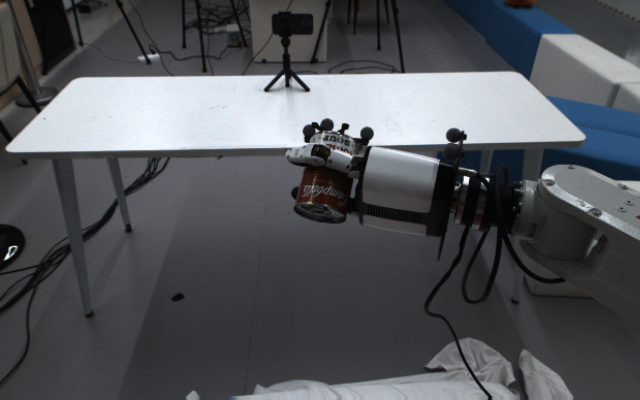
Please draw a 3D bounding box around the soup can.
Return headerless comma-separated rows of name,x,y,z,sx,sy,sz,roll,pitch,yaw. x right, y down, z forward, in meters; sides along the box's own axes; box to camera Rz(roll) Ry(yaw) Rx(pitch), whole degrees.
soup can,0.011,-0.028,0.617,0.067,0.067,0.101,9,71,9
